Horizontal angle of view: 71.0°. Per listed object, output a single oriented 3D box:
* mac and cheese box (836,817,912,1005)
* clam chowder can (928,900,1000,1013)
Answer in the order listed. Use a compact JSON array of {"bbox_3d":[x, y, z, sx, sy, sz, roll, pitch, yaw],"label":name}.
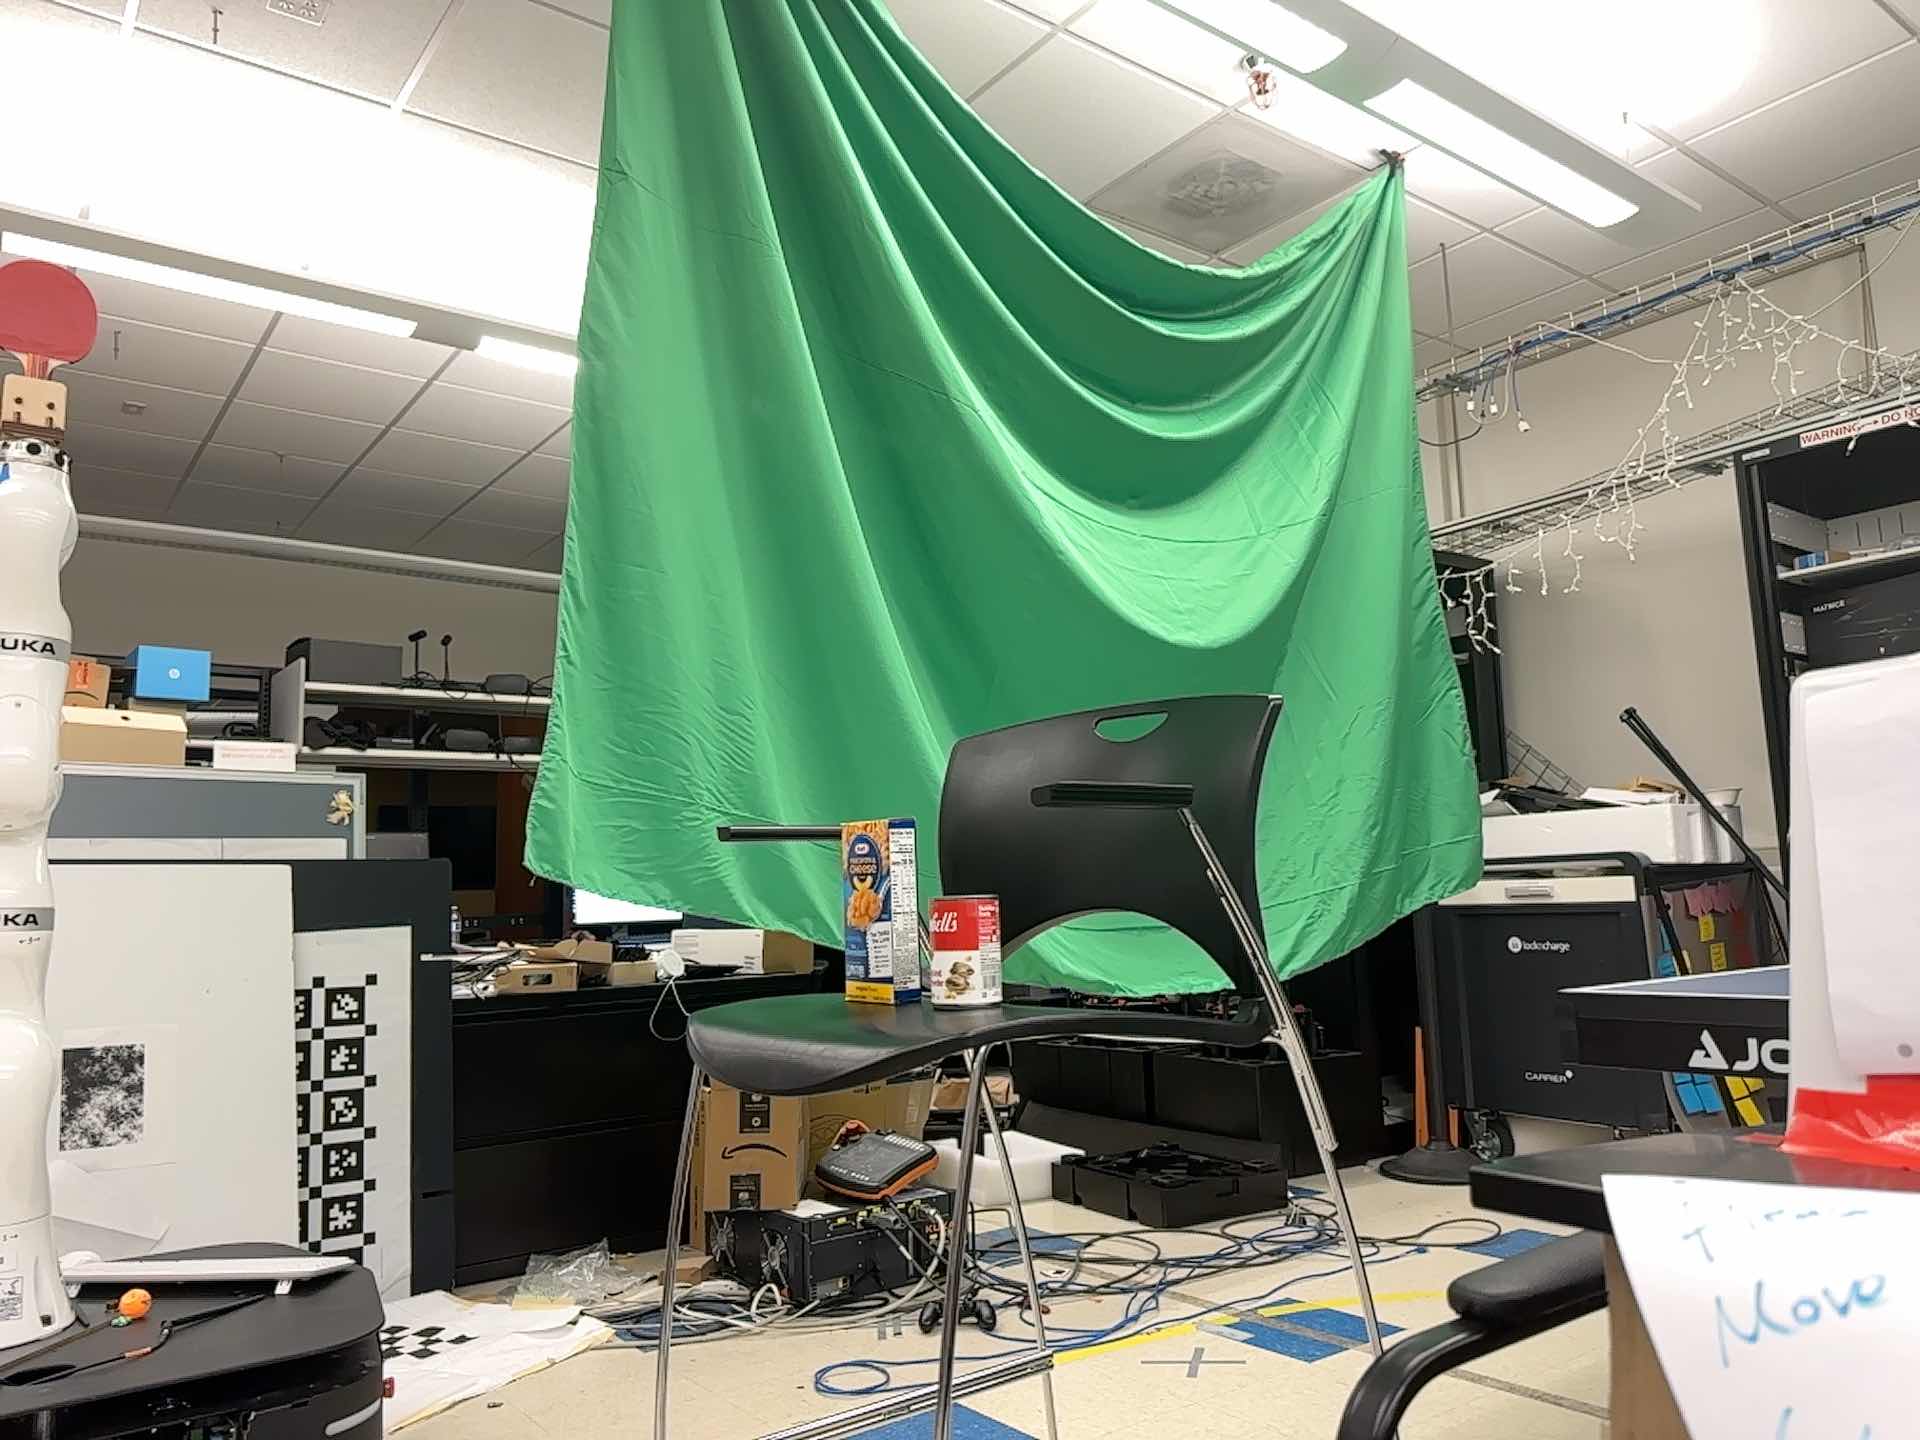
[{"bbox_3d":[-0.090,0.194,1.377,0.035,0.181,0.088,1,-6,-32],"label":"mac and cheese box"},{"bbox_3d":[0.004,0.222,1.275,0.068,0.102,0.068,-1,-7,0],"label":"clam chowder can"}]
